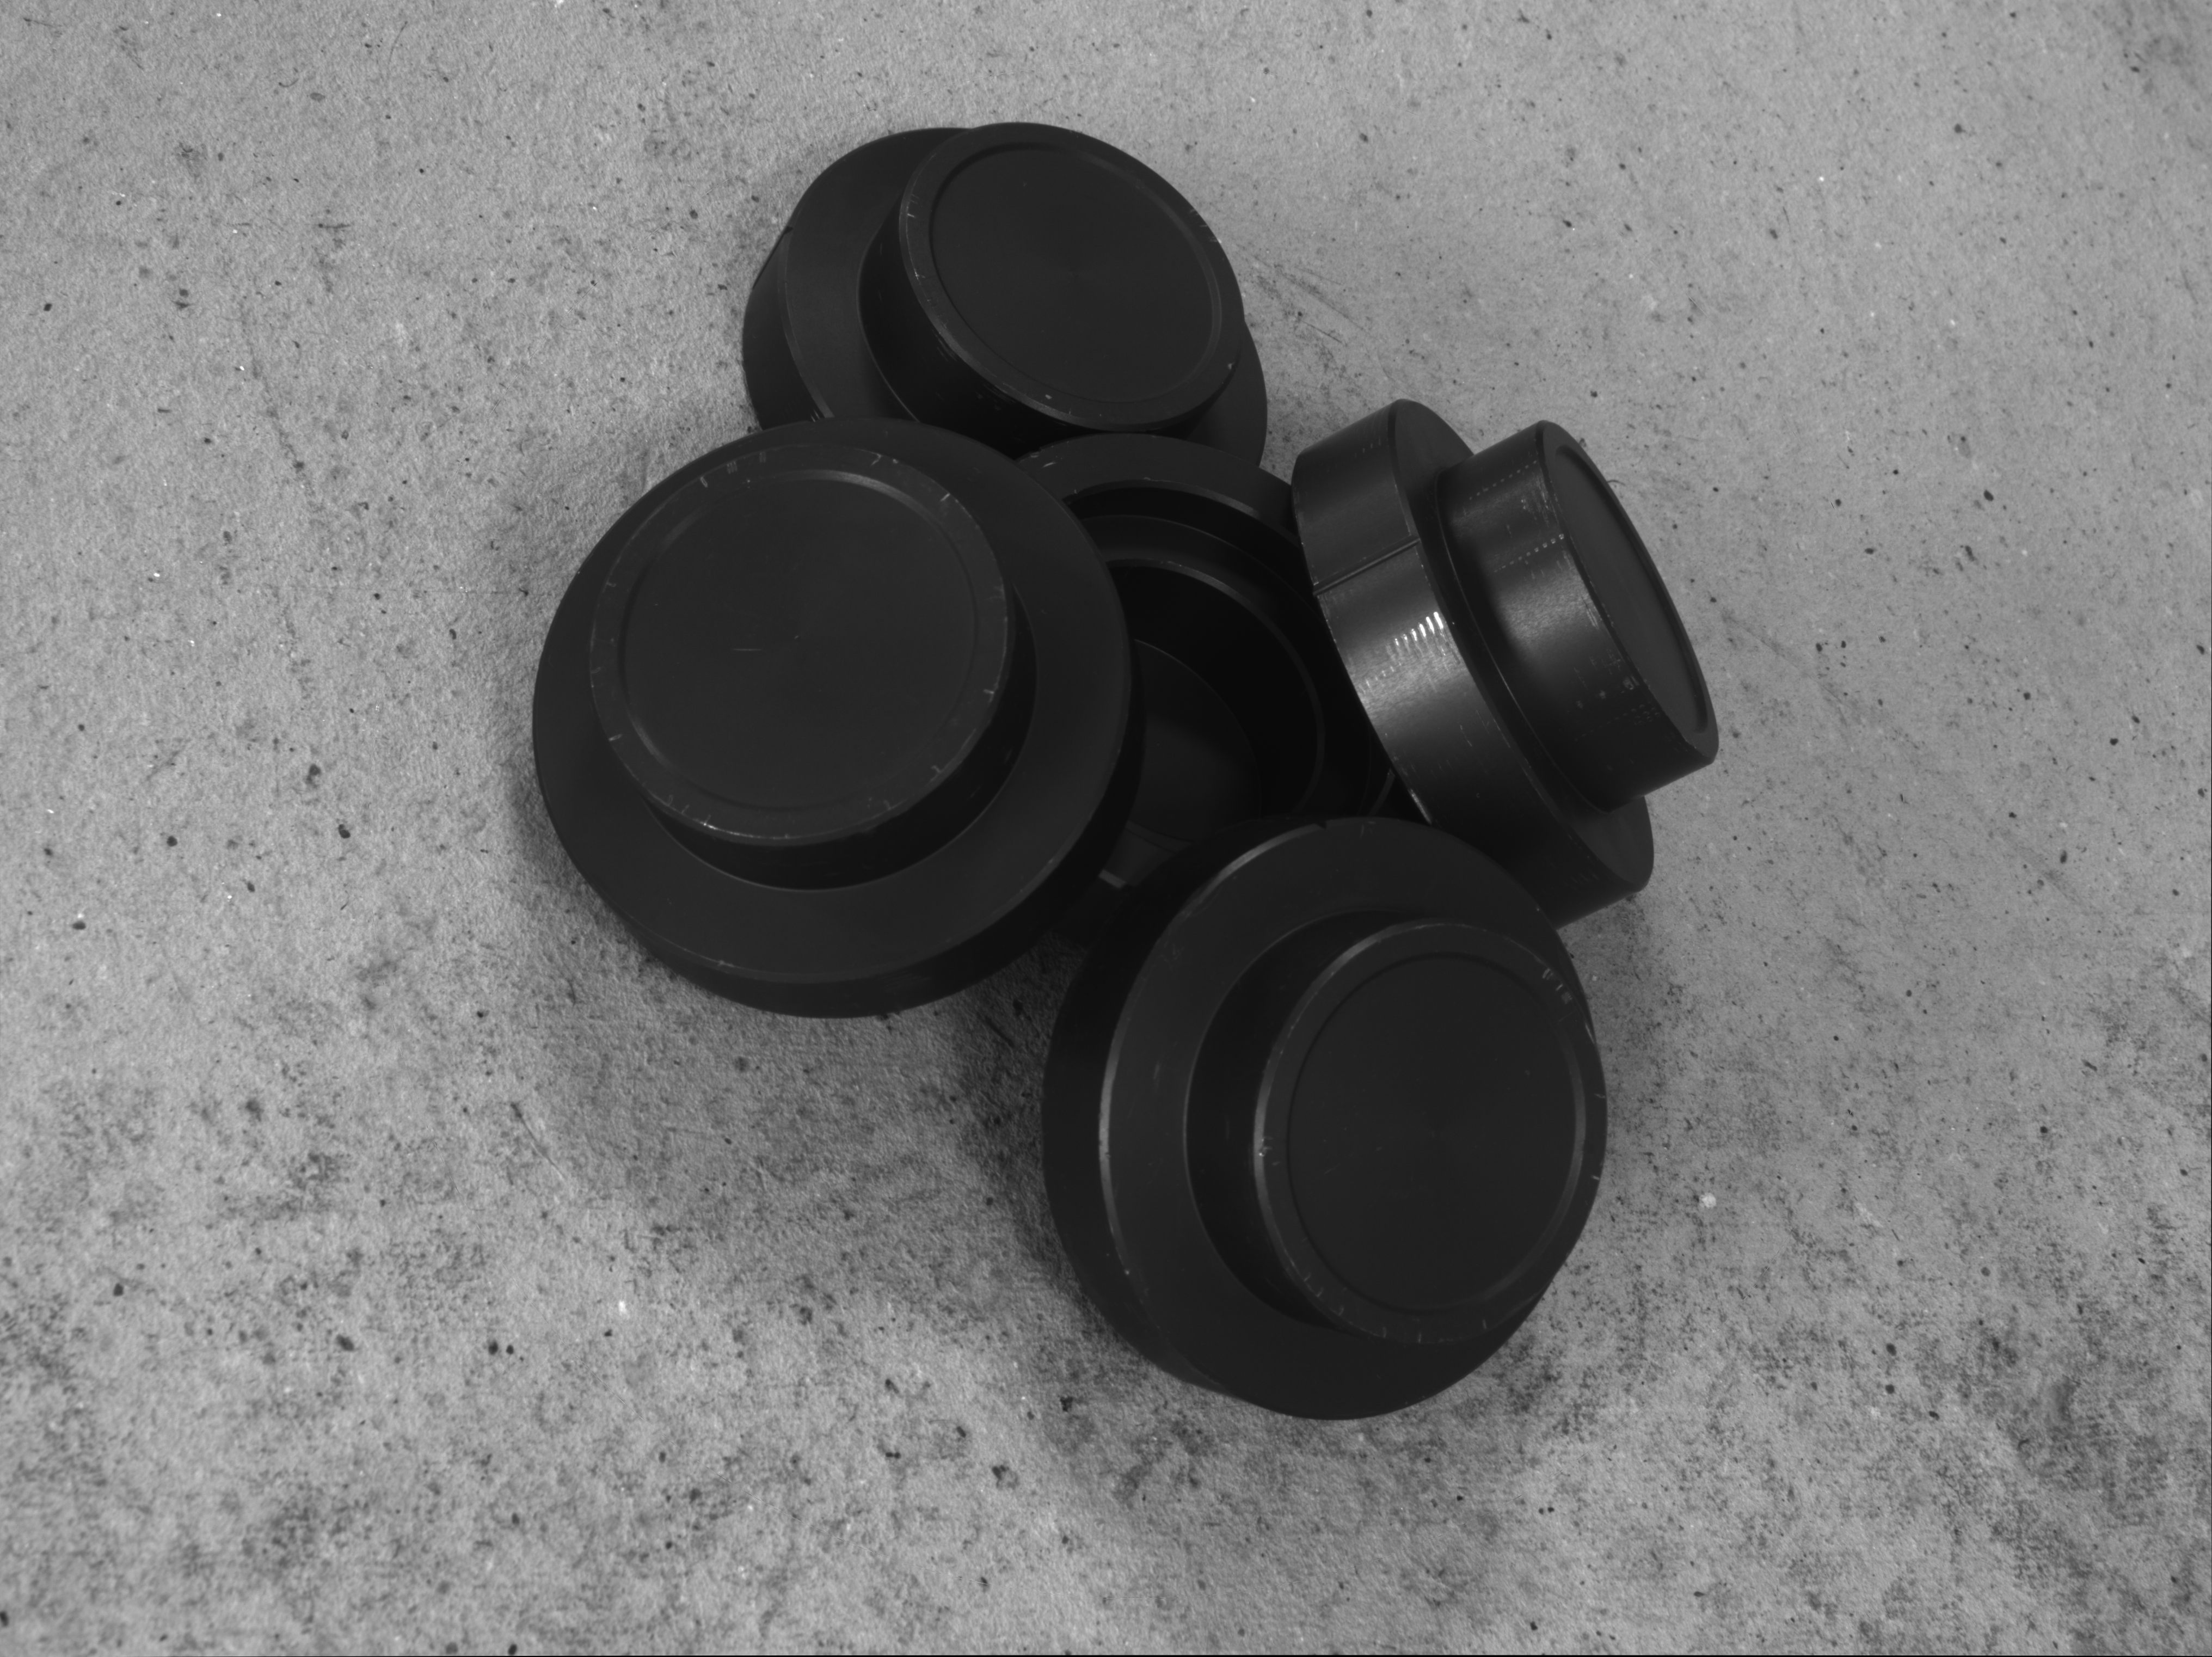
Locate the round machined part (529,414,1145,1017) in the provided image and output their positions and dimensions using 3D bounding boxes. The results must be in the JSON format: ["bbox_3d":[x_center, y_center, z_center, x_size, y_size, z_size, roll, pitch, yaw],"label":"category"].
[{"bbox_3d":[-0.045,-0.022,0.587,0.098,0.042,0.098,-2,70,7],"label":"round machined part"}]

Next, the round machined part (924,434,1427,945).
[{"bbox_3d":[0.009,-0.017,0.643,0.098,0.042,0.098,12,56,-19],"label":"round machined part"}]

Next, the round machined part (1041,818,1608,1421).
[{"bbox_3d":[0.042,0.047,0.594,0.098,0.042,0.098,-1,92,-30],"label":"round machined part"}]

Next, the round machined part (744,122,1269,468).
[{"bbox_3d":[-0.014,-0.091,0.676,0.098,0.042,0.098,14,55,-20],"label":"round machined part"}]

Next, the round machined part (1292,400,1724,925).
[{"bbox_3d":[0.076,-0.034,0.657,0.098,0.042,0.098,51,22,-30],"label":"round machined part"}]
